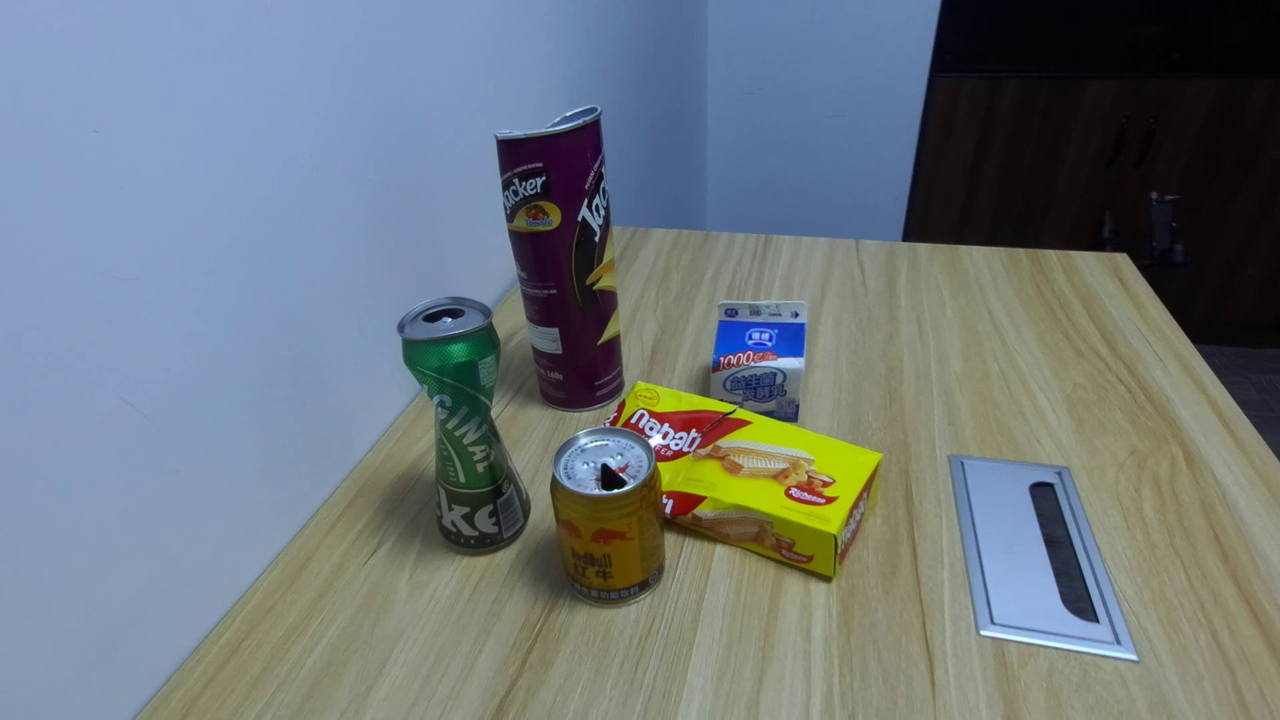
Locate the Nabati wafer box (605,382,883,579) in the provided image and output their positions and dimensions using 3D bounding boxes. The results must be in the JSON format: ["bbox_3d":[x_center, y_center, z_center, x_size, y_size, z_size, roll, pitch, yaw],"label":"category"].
[{"bbox_3d":[0.054,0.078,0.499,0.203,0.042,0.107,16,36,28],"label":"Nabati wafer box"}]

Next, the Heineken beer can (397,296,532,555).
[{"bbox_3d":[-0.112,0.047,0.457,0.066,0.164,0.078,8,30,18],"label":"Heineken beer can"}]

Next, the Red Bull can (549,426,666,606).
[{"bbox_3d":[-0.018,0.095,0.432,0.067,0.093,0.067,-2,33,2],"label":"Red Bull can"}]

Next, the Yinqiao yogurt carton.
[{"bbox_3d":[0.098,-0.009,0.579,0.075,0.092,0.074,3,33,13],"label":"Yinqiao yogurt carton"}]

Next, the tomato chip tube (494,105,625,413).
[{"bbox_3d":[-0.058,-0.074,0.569,0.078,0.235,0.076,-5,32,-1],"label":"tomato chip tube"}]
